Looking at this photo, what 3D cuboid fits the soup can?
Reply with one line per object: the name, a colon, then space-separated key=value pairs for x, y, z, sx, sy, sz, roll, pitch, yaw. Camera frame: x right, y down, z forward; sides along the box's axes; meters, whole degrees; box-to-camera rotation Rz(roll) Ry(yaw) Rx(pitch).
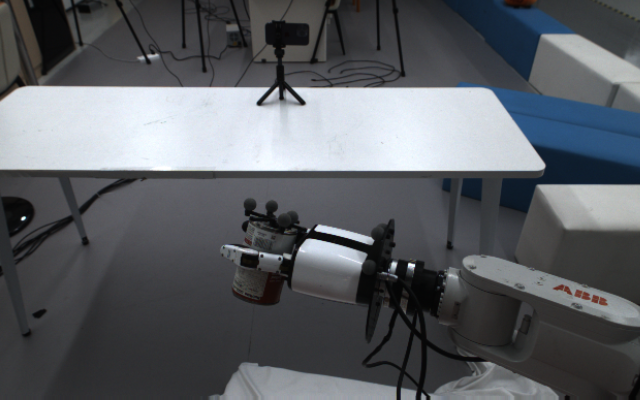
soup can: x=-0.072 y=0.081 z=0.645 sx=0.067 sy=0.101 sz=0.067 roll=15 pitch=7 yaw=-2
